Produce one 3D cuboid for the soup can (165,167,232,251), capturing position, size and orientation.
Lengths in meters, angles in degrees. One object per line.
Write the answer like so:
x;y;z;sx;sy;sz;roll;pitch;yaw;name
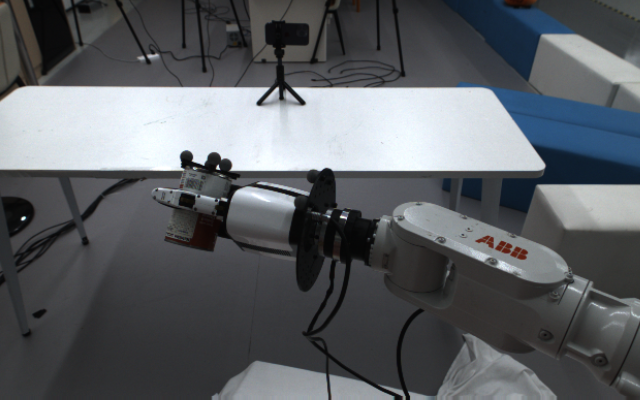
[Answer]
-0.162;0.014;0.648;0.067;0.101;0.067;13;-6;1;soup can
